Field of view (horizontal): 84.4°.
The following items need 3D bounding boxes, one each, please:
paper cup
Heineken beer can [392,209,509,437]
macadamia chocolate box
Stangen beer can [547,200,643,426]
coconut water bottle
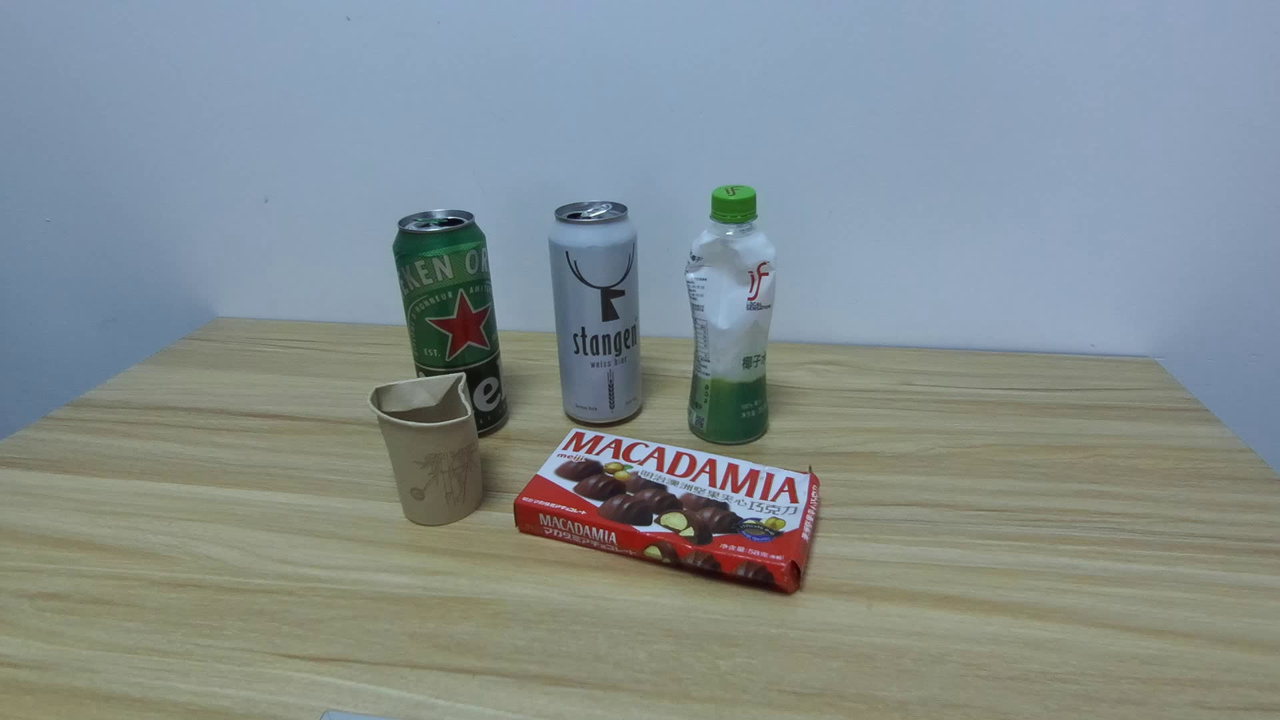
[{"bbox_3d":[-0.140,0.061,0.469,0.066,0.084,0.071,-7,26,-13],"label":"paper cup"},{"bbox_3d":[-0.144,-0.024,0.547,0.067,0.169,0.067,-2,25,1],"label":"Heineken beer can"},{"bbox_3d":[0.020,0.092,0.460,0.182,0.028,0.106,8,28,17],"label":"macadamia chocolate box"},{"bbox_3d":[-0.033,-0.034,0.555,0.067,0.171,0.067,-1,25,1],"label":"Stangen beer can"},{"bbox_3d":[0.067,-0.032,0.517,0.069,0.187,0.069,0,26,0],"label":"coconut water bottle"}]
